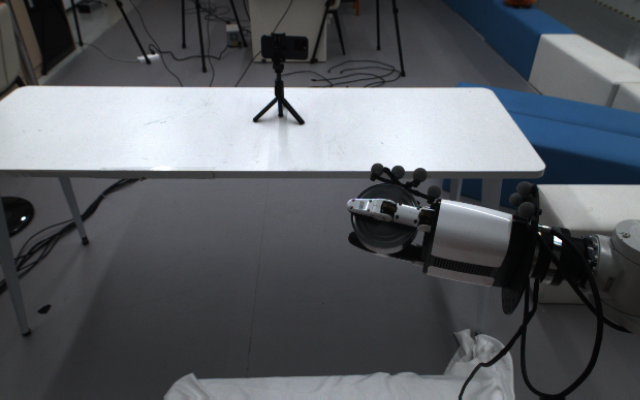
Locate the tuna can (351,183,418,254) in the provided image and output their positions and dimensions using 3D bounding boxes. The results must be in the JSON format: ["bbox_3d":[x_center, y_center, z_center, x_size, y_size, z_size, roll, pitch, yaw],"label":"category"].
[{"bbox_3d":[0.084,0.020,0.612,0.085,0.034,0.085,-4,66,10],"label":"tuna can"}]
